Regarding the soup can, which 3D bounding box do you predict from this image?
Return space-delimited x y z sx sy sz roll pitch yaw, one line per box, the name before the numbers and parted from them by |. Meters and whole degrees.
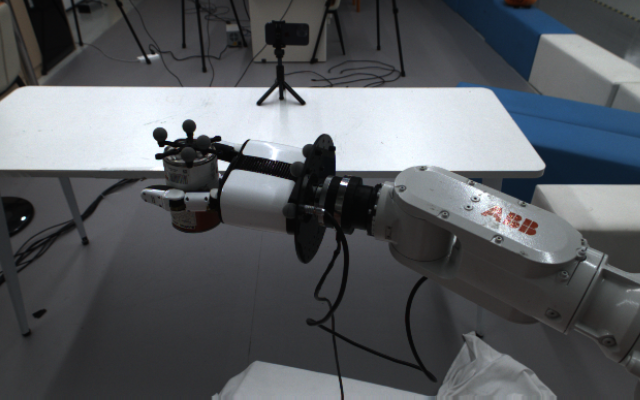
soup can | -0.163 -0.016 0.625 0.067 0.101 0.067 2 32 -1
